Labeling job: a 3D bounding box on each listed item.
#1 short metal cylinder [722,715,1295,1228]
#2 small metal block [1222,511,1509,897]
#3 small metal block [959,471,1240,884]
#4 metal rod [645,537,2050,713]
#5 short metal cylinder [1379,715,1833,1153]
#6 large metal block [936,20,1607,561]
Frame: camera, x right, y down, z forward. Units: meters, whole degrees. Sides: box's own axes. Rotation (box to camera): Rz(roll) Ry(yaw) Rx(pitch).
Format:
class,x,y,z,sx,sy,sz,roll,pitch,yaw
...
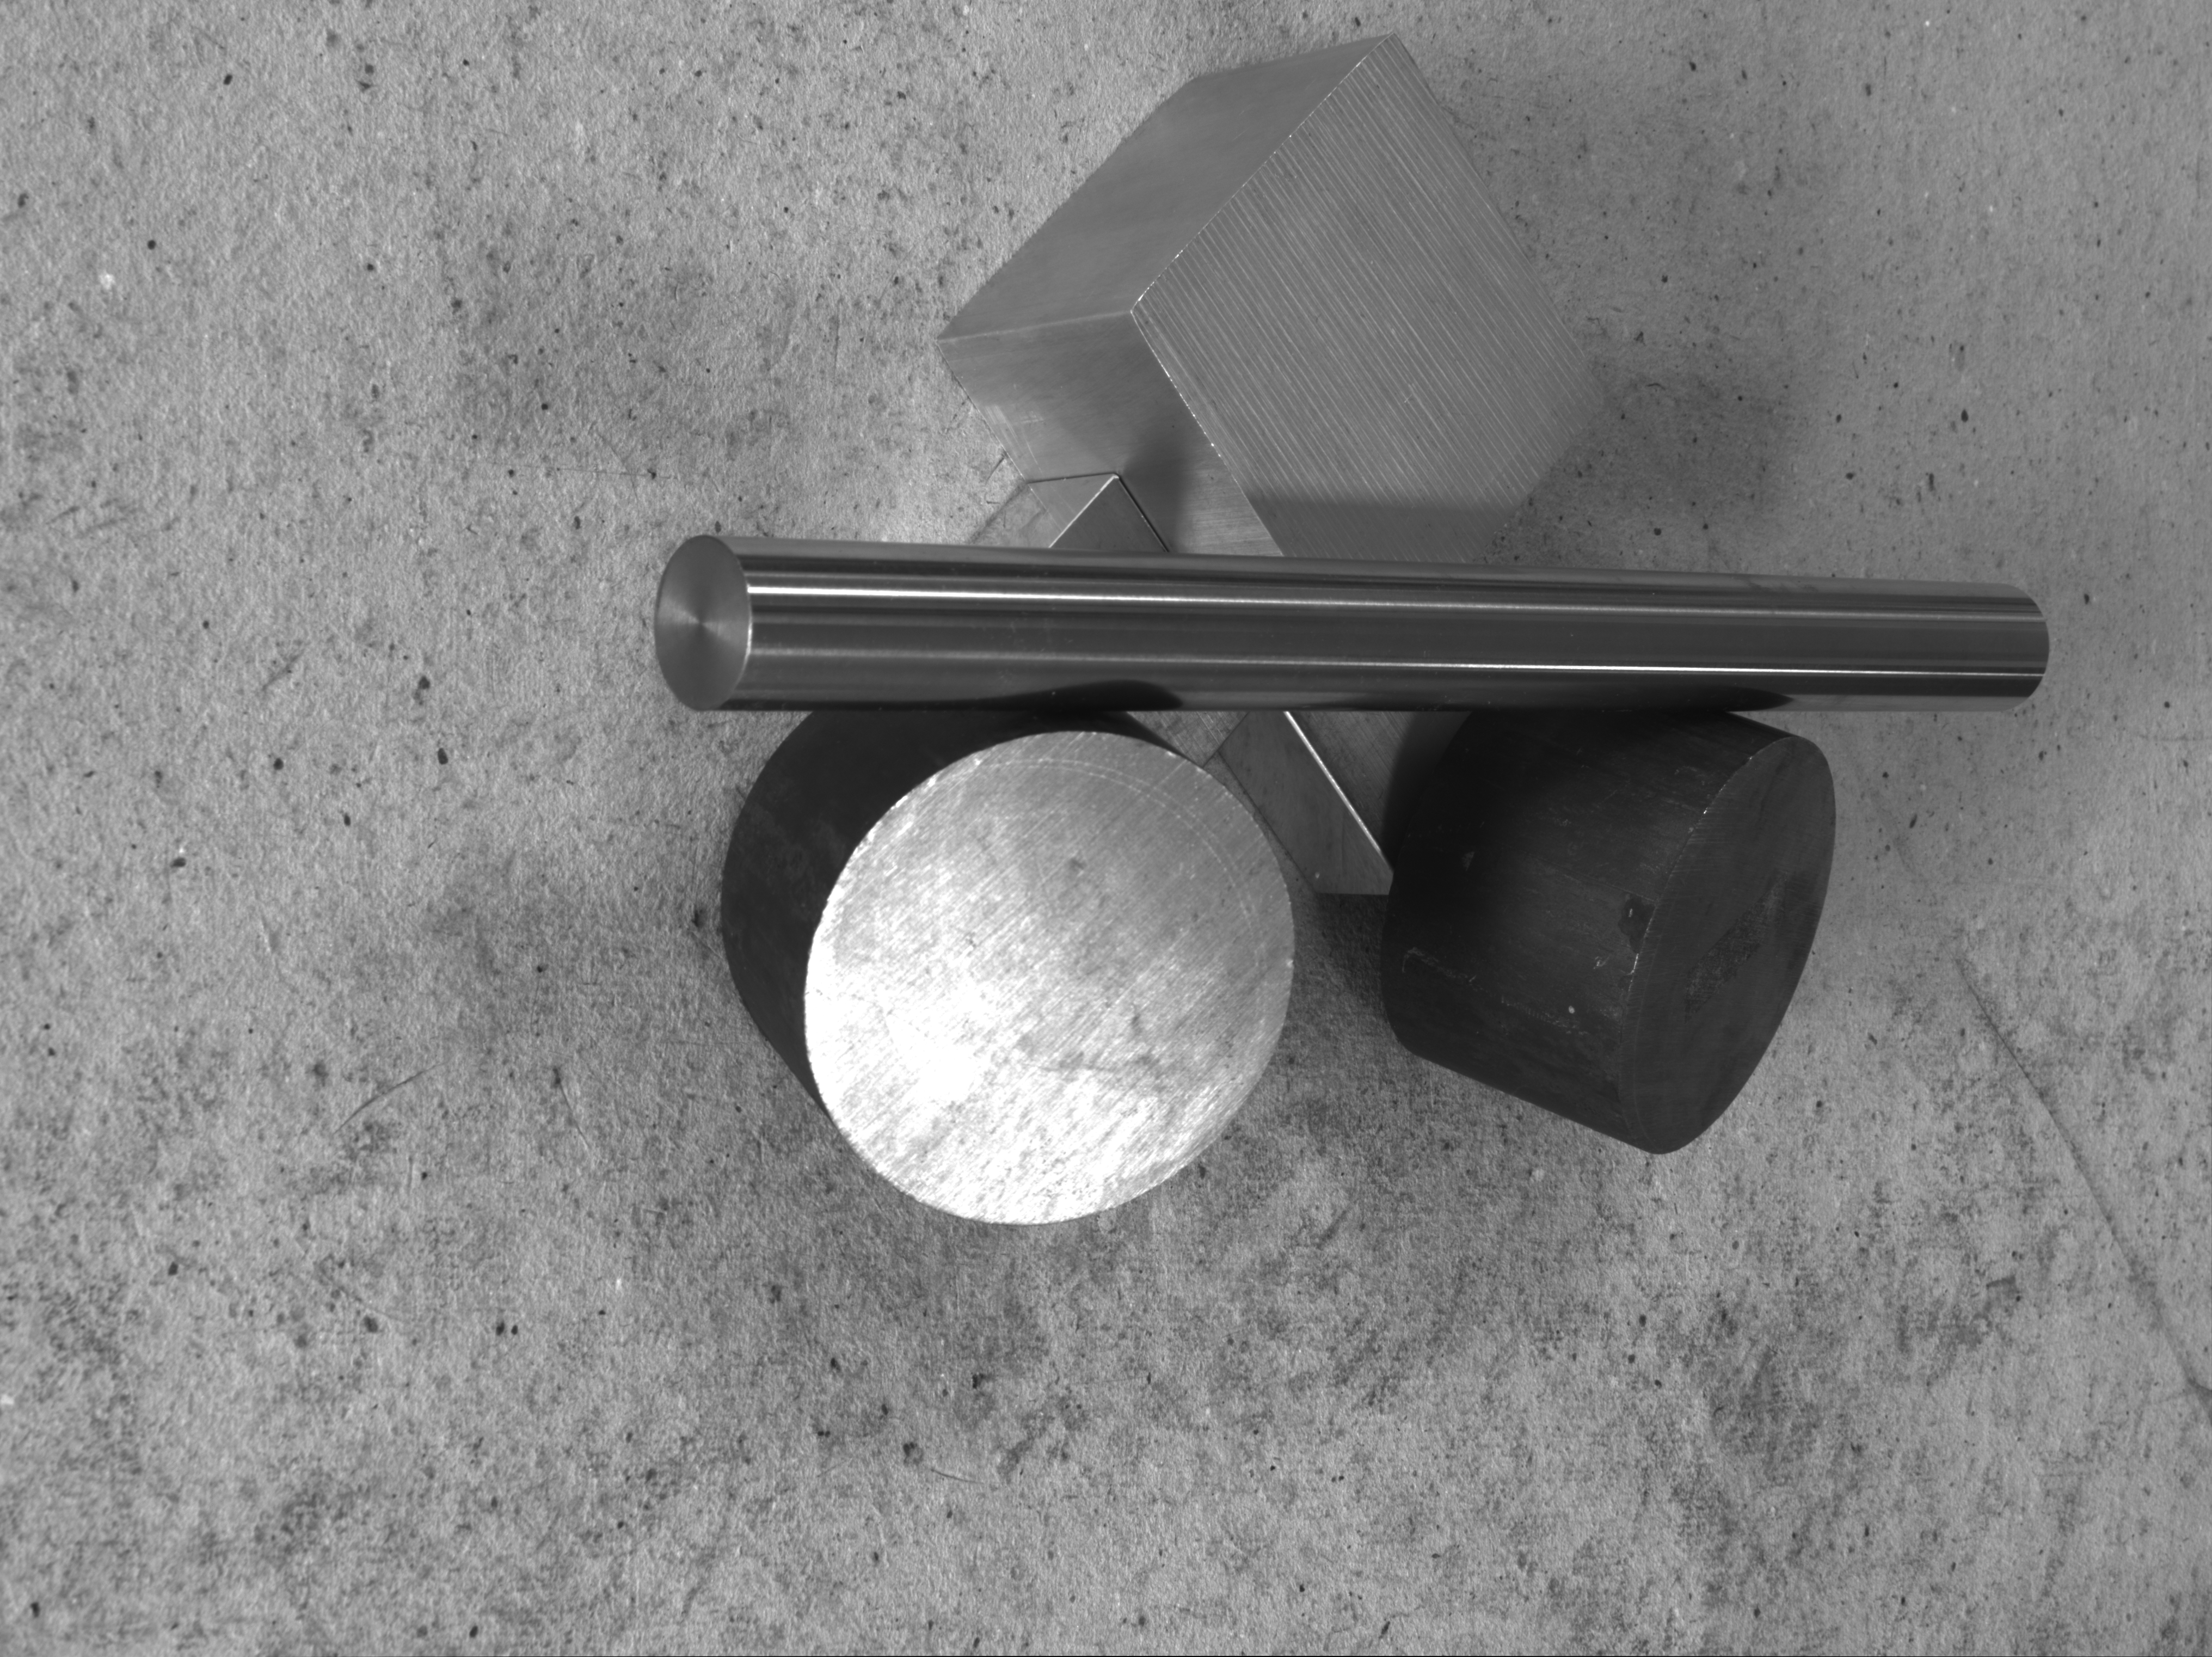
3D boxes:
class,x,y,z,sx,sy,sz,roll,pitch,yaw
short metal cylinder,-0.016,0.017,0.588,0.080,0.050,0.080,-6,108,-19
small metal block,0.048,-0.023,0.676,0.050,0.025,0.050,-51,120,-28
small metal block,-0.007,-0.025,0.631,0.050,0.025,0.050,-51,120,-29
metal rod,0.057,-0.032,0.617,0.301,0.025,0.025,-2,91,-40
short metal cylinder,0.093,0.014,0.680,0.080,0.050,0.080,-35,136,-44
large metal block,0.030,-0.081,0.643,0.080,0.050,0.080,-50,119,-28
